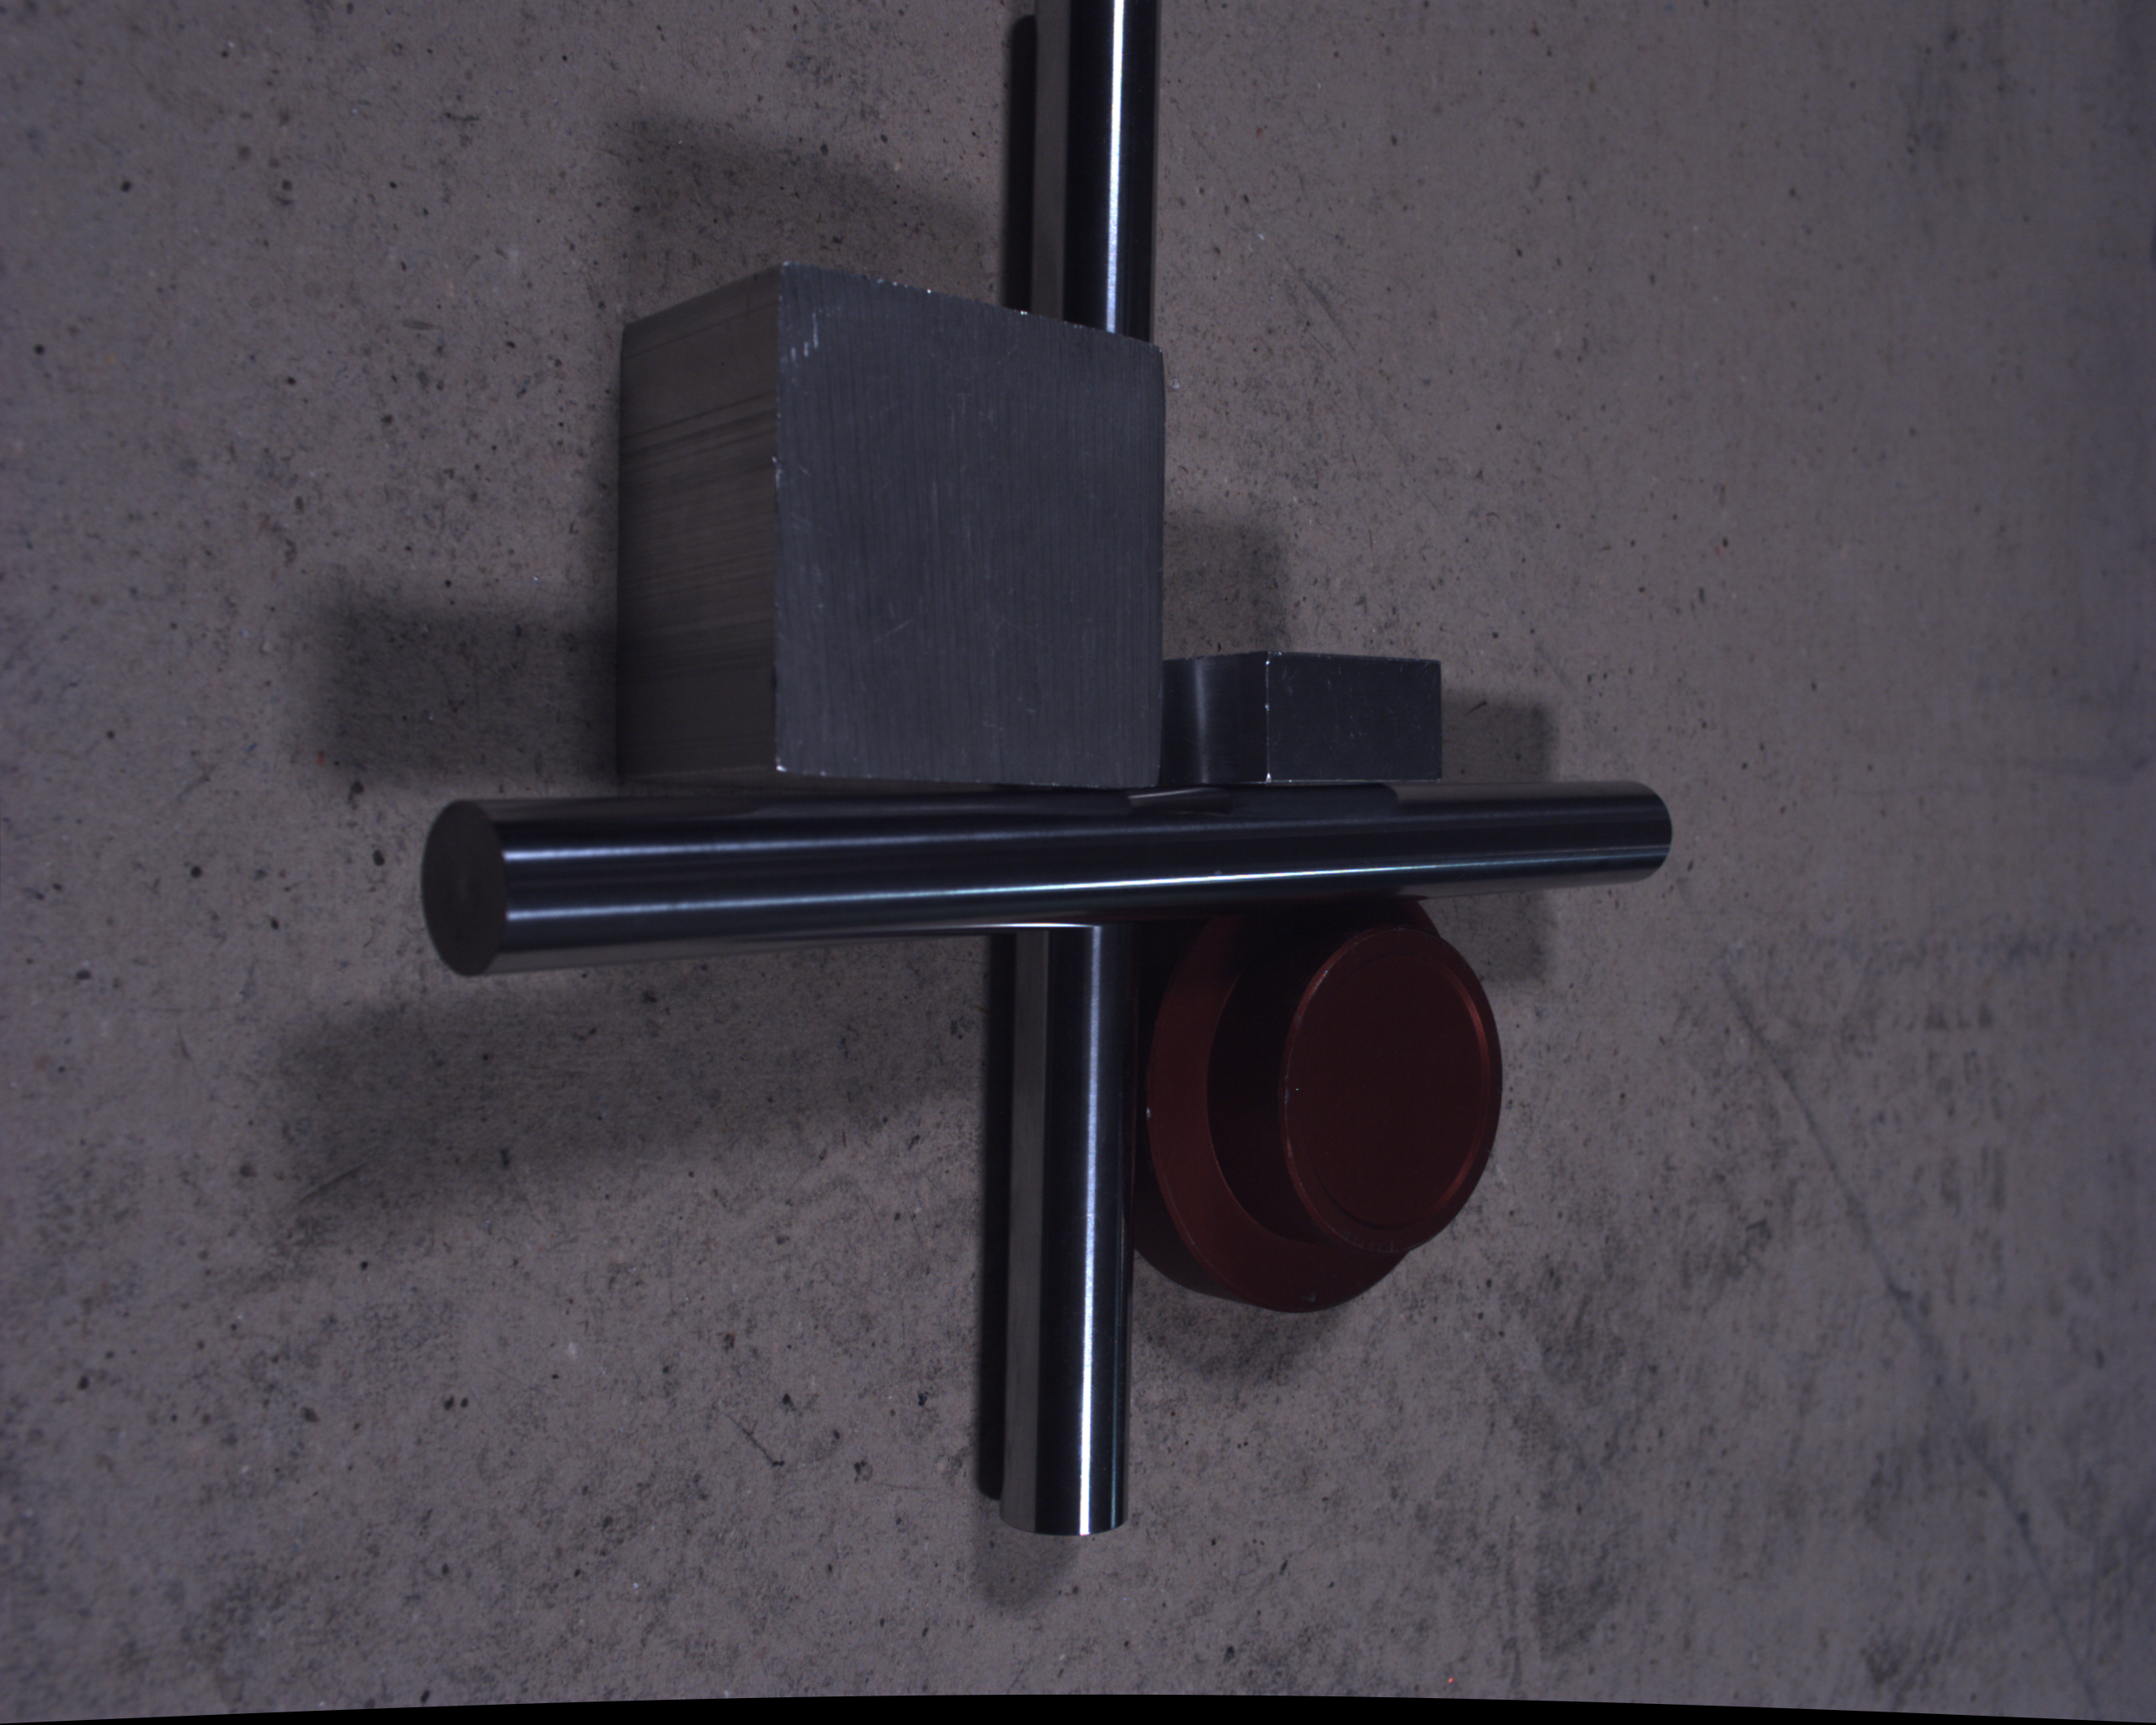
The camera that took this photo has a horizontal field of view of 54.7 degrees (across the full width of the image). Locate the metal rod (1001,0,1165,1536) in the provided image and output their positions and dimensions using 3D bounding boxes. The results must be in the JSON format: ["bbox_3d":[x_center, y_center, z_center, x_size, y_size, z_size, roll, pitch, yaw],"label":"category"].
[{"bbox_3d":[0.001,-0.022,0.409,0.025,0.025,0.298,2,89,-40],"label":"metal rod"}]

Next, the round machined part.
[{"bbox_3d":[0.053,0.047,0.441,0.099,0.042,0.097,0,90,-40],"label":"round machined part"}]

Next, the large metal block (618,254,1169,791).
[{"bbox_3d":[-0.031,-0.053,0.364,0.081,0.050,0.079,1,90,-40],"label":"large metal block"}]

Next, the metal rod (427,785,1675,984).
[{"bbox_3d":[0.024,-0.001,0.396,0.302,0.025,0.025,-3,92,-44],"label":"metal rod"}]

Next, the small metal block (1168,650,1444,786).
[{"bbox_3d":[0.038,-0.028,0.425,0.050,0.050,0.025,-2,92,-40],"label":"small metal block"}]
